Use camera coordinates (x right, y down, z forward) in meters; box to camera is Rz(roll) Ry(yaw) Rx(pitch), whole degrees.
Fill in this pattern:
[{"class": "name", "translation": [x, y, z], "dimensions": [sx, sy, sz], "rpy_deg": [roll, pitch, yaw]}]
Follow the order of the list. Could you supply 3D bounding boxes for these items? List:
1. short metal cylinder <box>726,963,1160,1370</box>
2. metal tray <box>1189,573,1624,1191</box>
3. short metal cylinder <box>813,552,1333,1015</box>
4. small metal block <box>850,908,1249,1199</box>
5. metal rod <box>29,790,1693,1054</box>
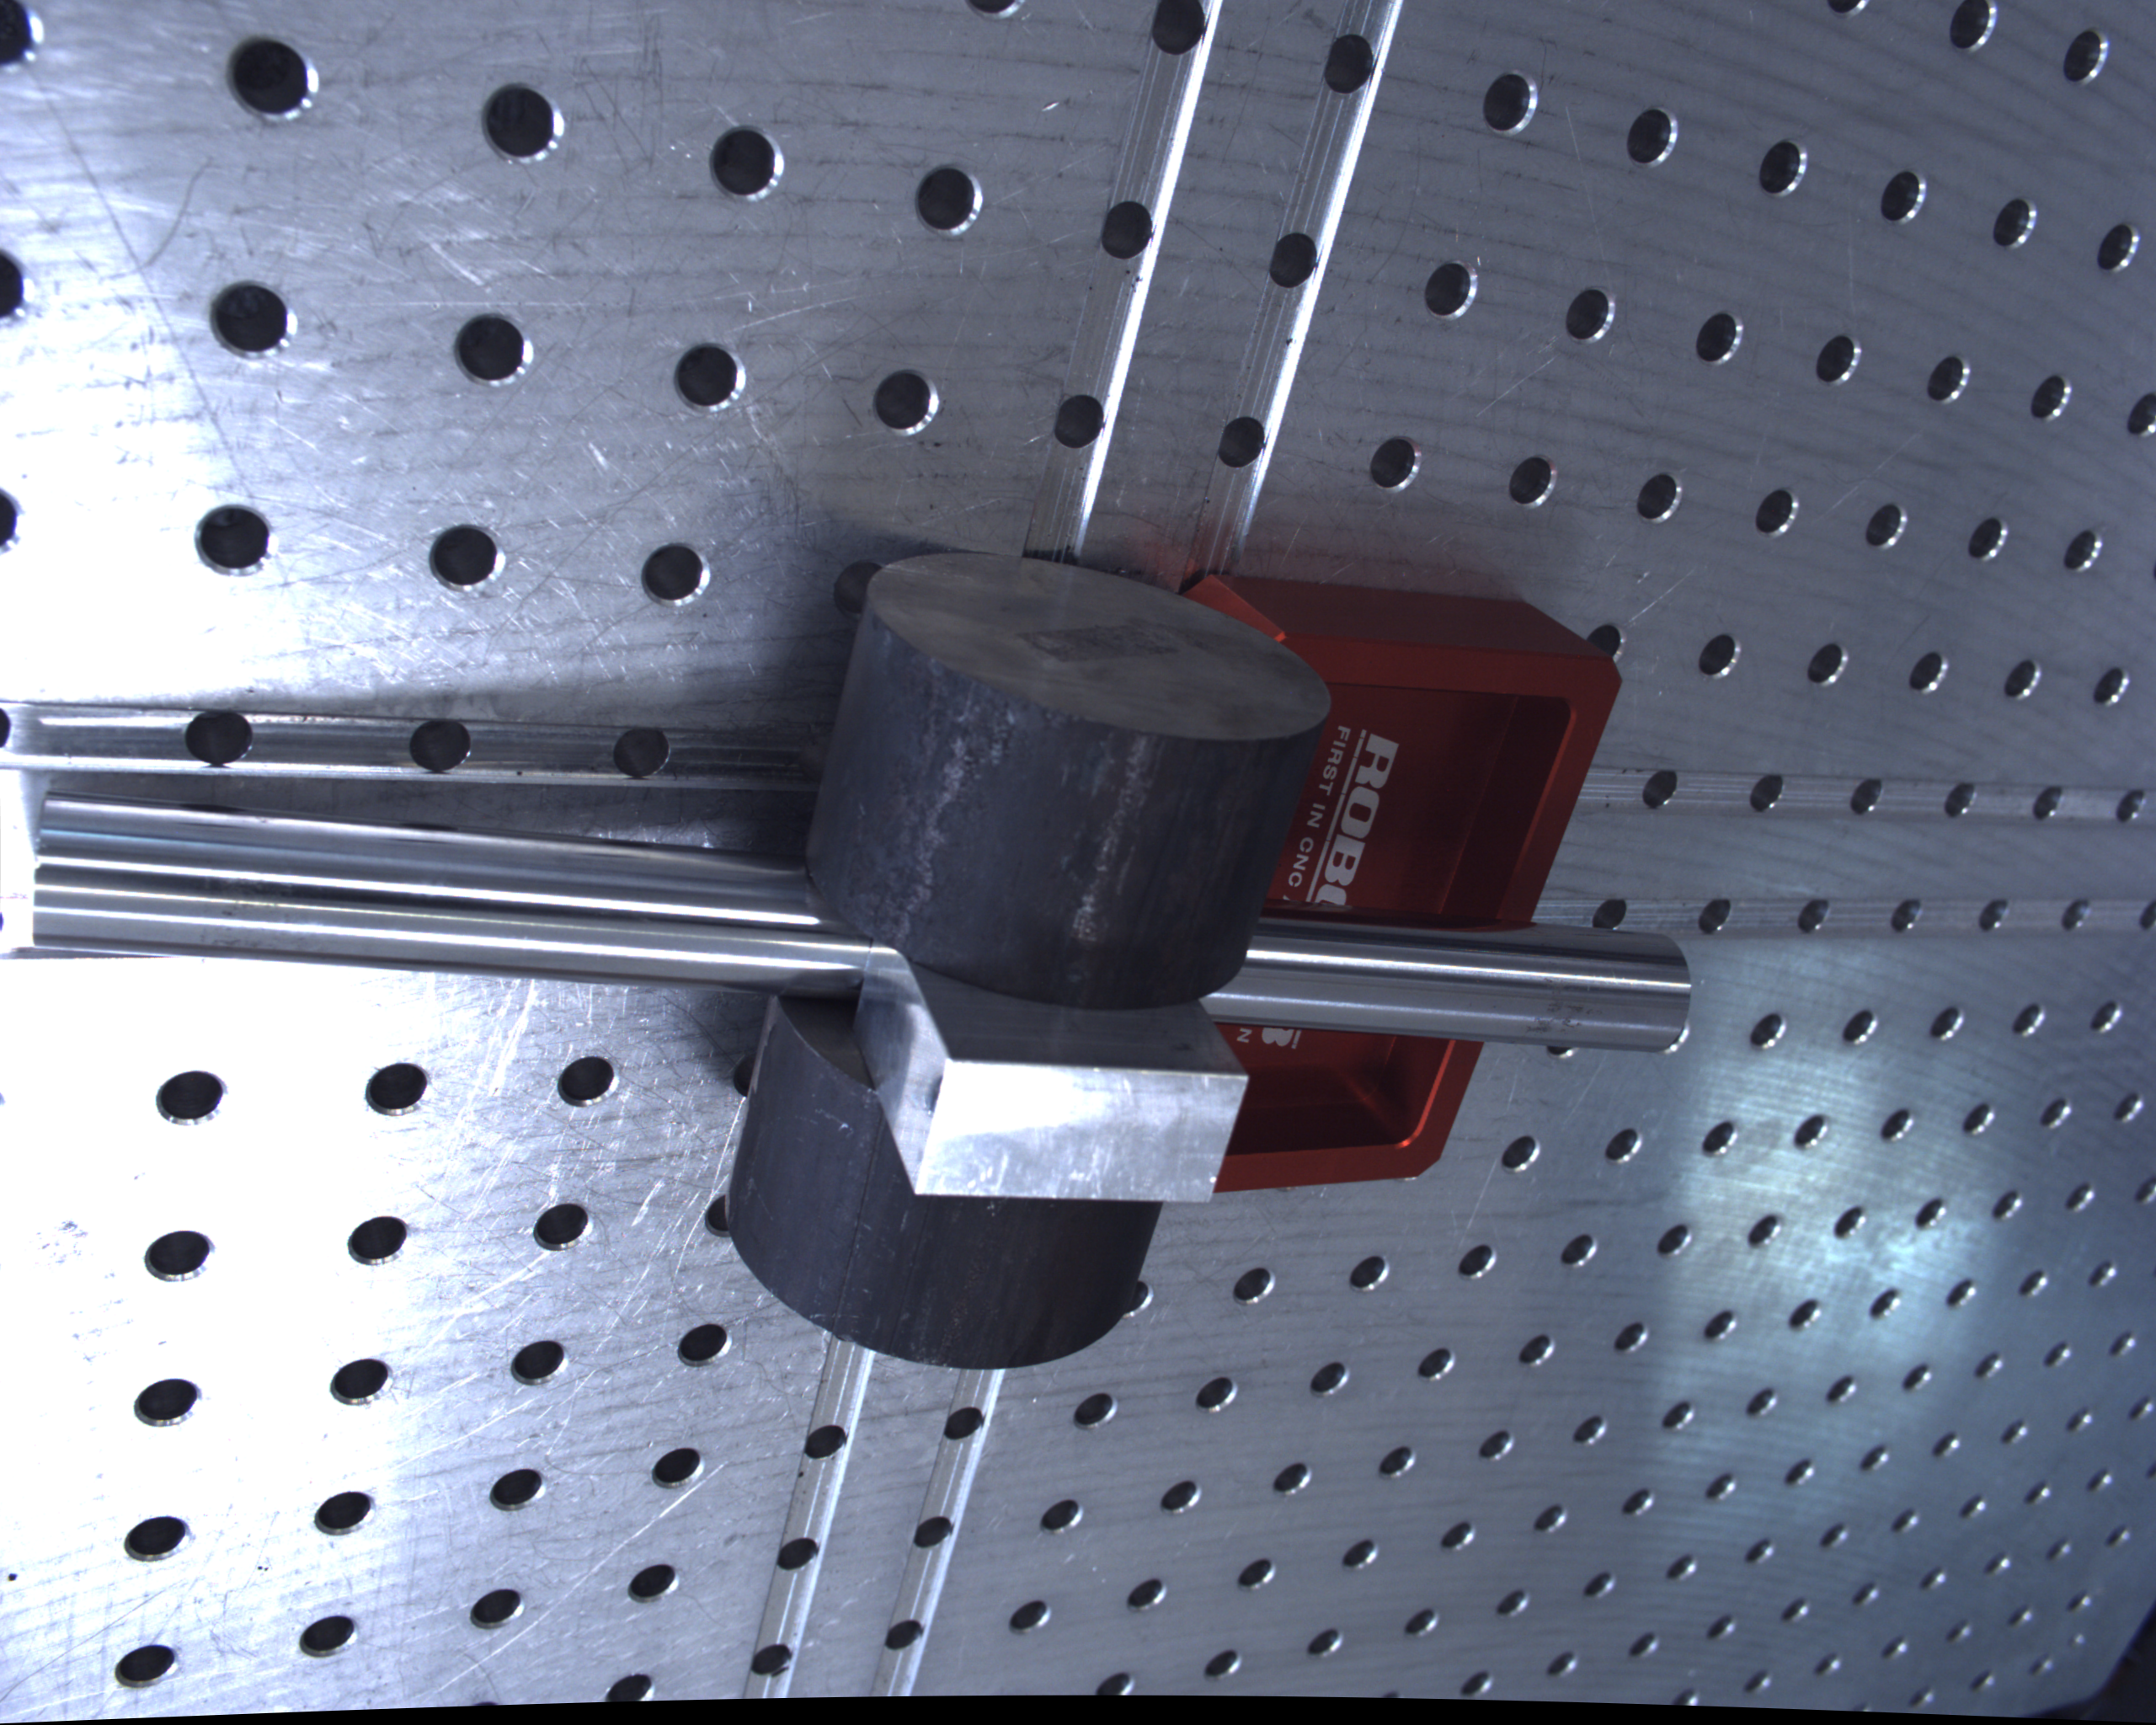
[{"class": "short metal cylinder", "translation": [-0.022, 0.050, 0.394], "dimensions": [0.081, 0.080, 0.050], "rpy_deg": [1, 118, -29]}, {"class": "metal tray", "translation": [0.052, 0.008, 0.441], "dimensions": [0.091, 0.030, 0.129], "rpy_deg": [1, 118, -29]}, {"class": "short metal cylinder", "translation": [-0.002, -0.016, 0.363], "dimensions": [0.081, 0.080, 0.050], "rpy_deg": [1, 118, -29]}, {"class": "small metal block", "translation": [-0.006, 0.031, 0.349], "dimensions": [0.050, 0.050, 0.025], "rpy_deg": [5, 116, -21]}, {"class": "metal rod", "translation": [-0.021, 0.014, 0.378], "dimensions": [0.302, 0.025, 0.025], "rpy_deg": [5, 116, -21]}]
